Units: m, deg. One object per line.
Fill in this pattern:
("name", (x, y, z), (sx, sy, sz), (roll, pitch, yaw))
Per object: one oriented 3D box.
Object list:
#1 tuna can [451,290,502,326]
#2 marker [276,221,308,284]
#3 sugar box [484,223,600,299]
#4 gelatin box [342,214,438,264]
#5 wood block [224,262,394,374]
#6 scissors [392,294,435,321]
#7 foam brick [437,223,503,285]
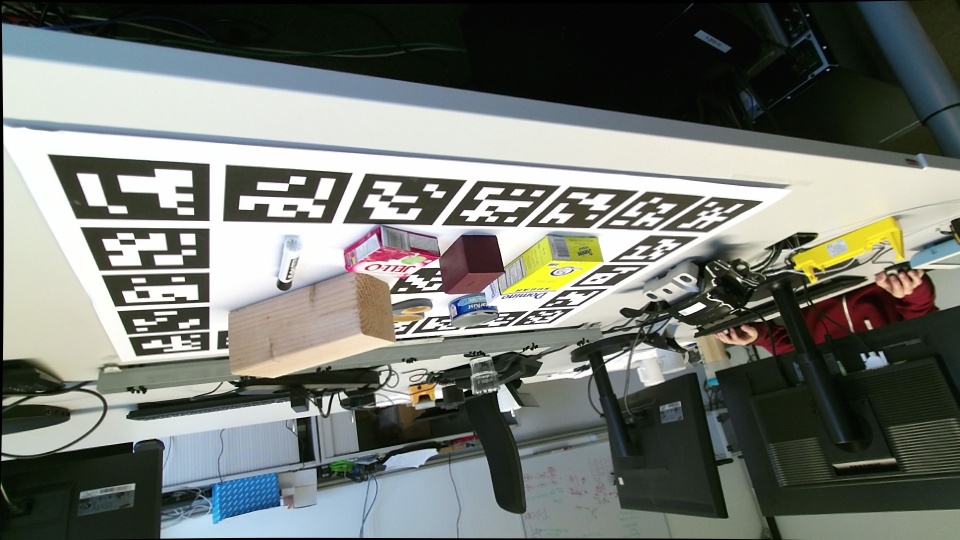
("tuna can", (-0.007, 0.067, 0.928), (0.086, 0.033, 0.086), (-12, 157, -5))
("marker", (-0.222, -0.017, 0.626), (0.020, 0.019, 0.121), (-1, 152, -29))
("sugar box", (0.086, -0.008, 0.805), (0.093, 0.045, 0.176), (2, 153, -32))
("gelatin box", (-0.108, -0.034, 0.644), (0.090, 0.030, 0.073), (9, 147, -45))
("wood block", (-0.237, 0.069, 0.740), (0.207, 0.090, 0.090), (-20, 158, 15))
("scissors", (-0.167, 0.064, 0.858), (0.203, 0.016, 0.088), (0, 153, -36))
("foam brick", (-0.016, -0.020, 0.694), (0.053, 0.051, 0.078), (-1, 153, -30))
